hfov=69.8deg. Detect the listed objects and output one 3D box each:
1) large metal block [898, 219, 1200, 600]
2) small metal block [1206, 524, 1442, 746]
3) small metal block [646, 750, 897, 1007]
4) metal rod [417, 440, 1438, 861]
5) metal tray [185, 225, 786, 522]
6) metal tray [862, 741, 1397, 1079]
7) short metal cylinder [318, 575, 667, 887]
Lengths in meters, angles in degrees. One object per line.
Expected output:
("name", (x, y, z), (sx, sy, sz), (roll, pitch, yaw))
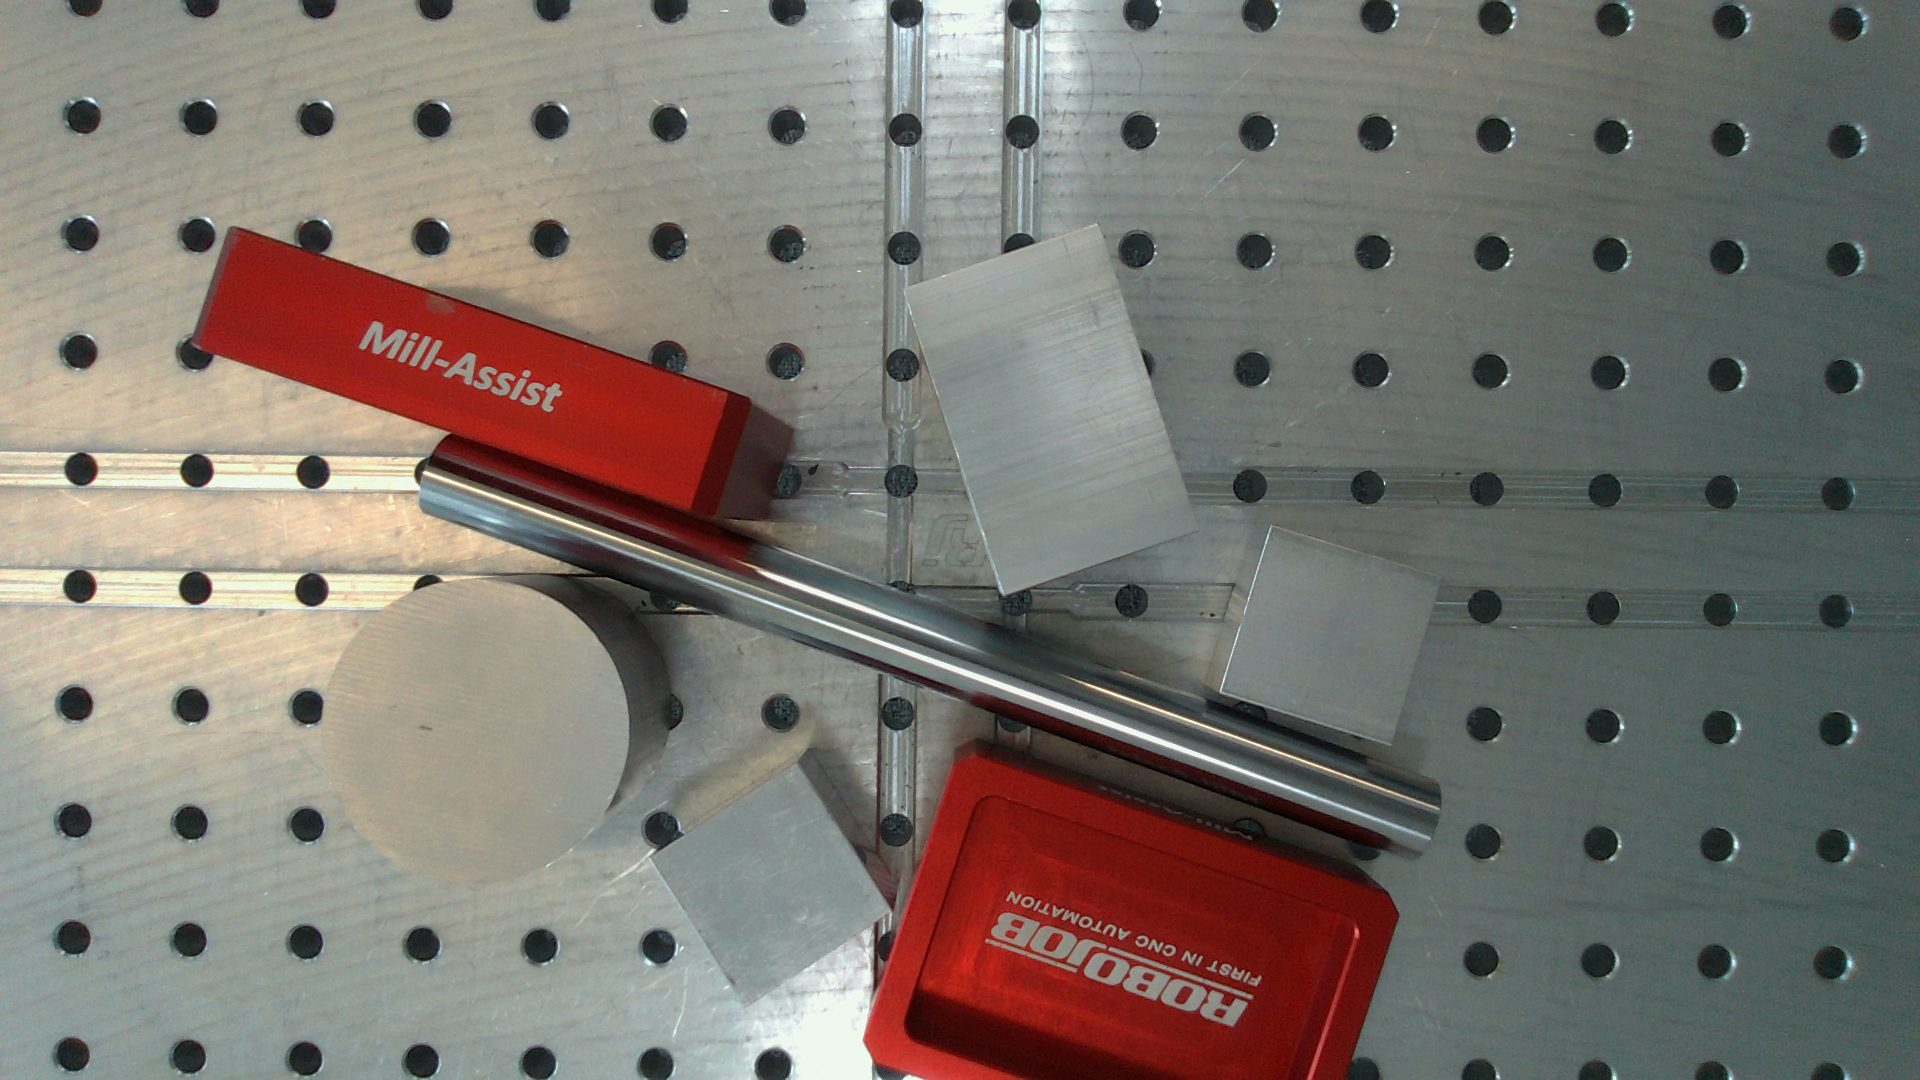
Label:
("large metal block", (0.022, -0.032, 0.371), (0.050, 0.080, 0.080), (-19, 90, 0))
("small metal block", (0.104, 0.027, 0.398), (0.050, 0.025, 0.050), (17, 90, 0))
("small metal block", (-0.053, 0.097, 0.398), (0.050, 0.025, 0.050), (-33, 90, 0))
("metal rod", (-0.009, 0.031, 0.398), (0.300, 0.025, 0.025), (19, 90, 0))
("metal tray", (-0.116, -0.040, 0.363), (0.130, 0.090, 0.030), (19, 90, 0))
("metal tray", (0.047, 0.121, 0.395), (0.130, 0.030, 0.090), (18, 90, 0))
("short metal cylinder", (-0.127, 0.051, 0.384), (0.080, 0.050, 0.080), (0, 90, 0))
